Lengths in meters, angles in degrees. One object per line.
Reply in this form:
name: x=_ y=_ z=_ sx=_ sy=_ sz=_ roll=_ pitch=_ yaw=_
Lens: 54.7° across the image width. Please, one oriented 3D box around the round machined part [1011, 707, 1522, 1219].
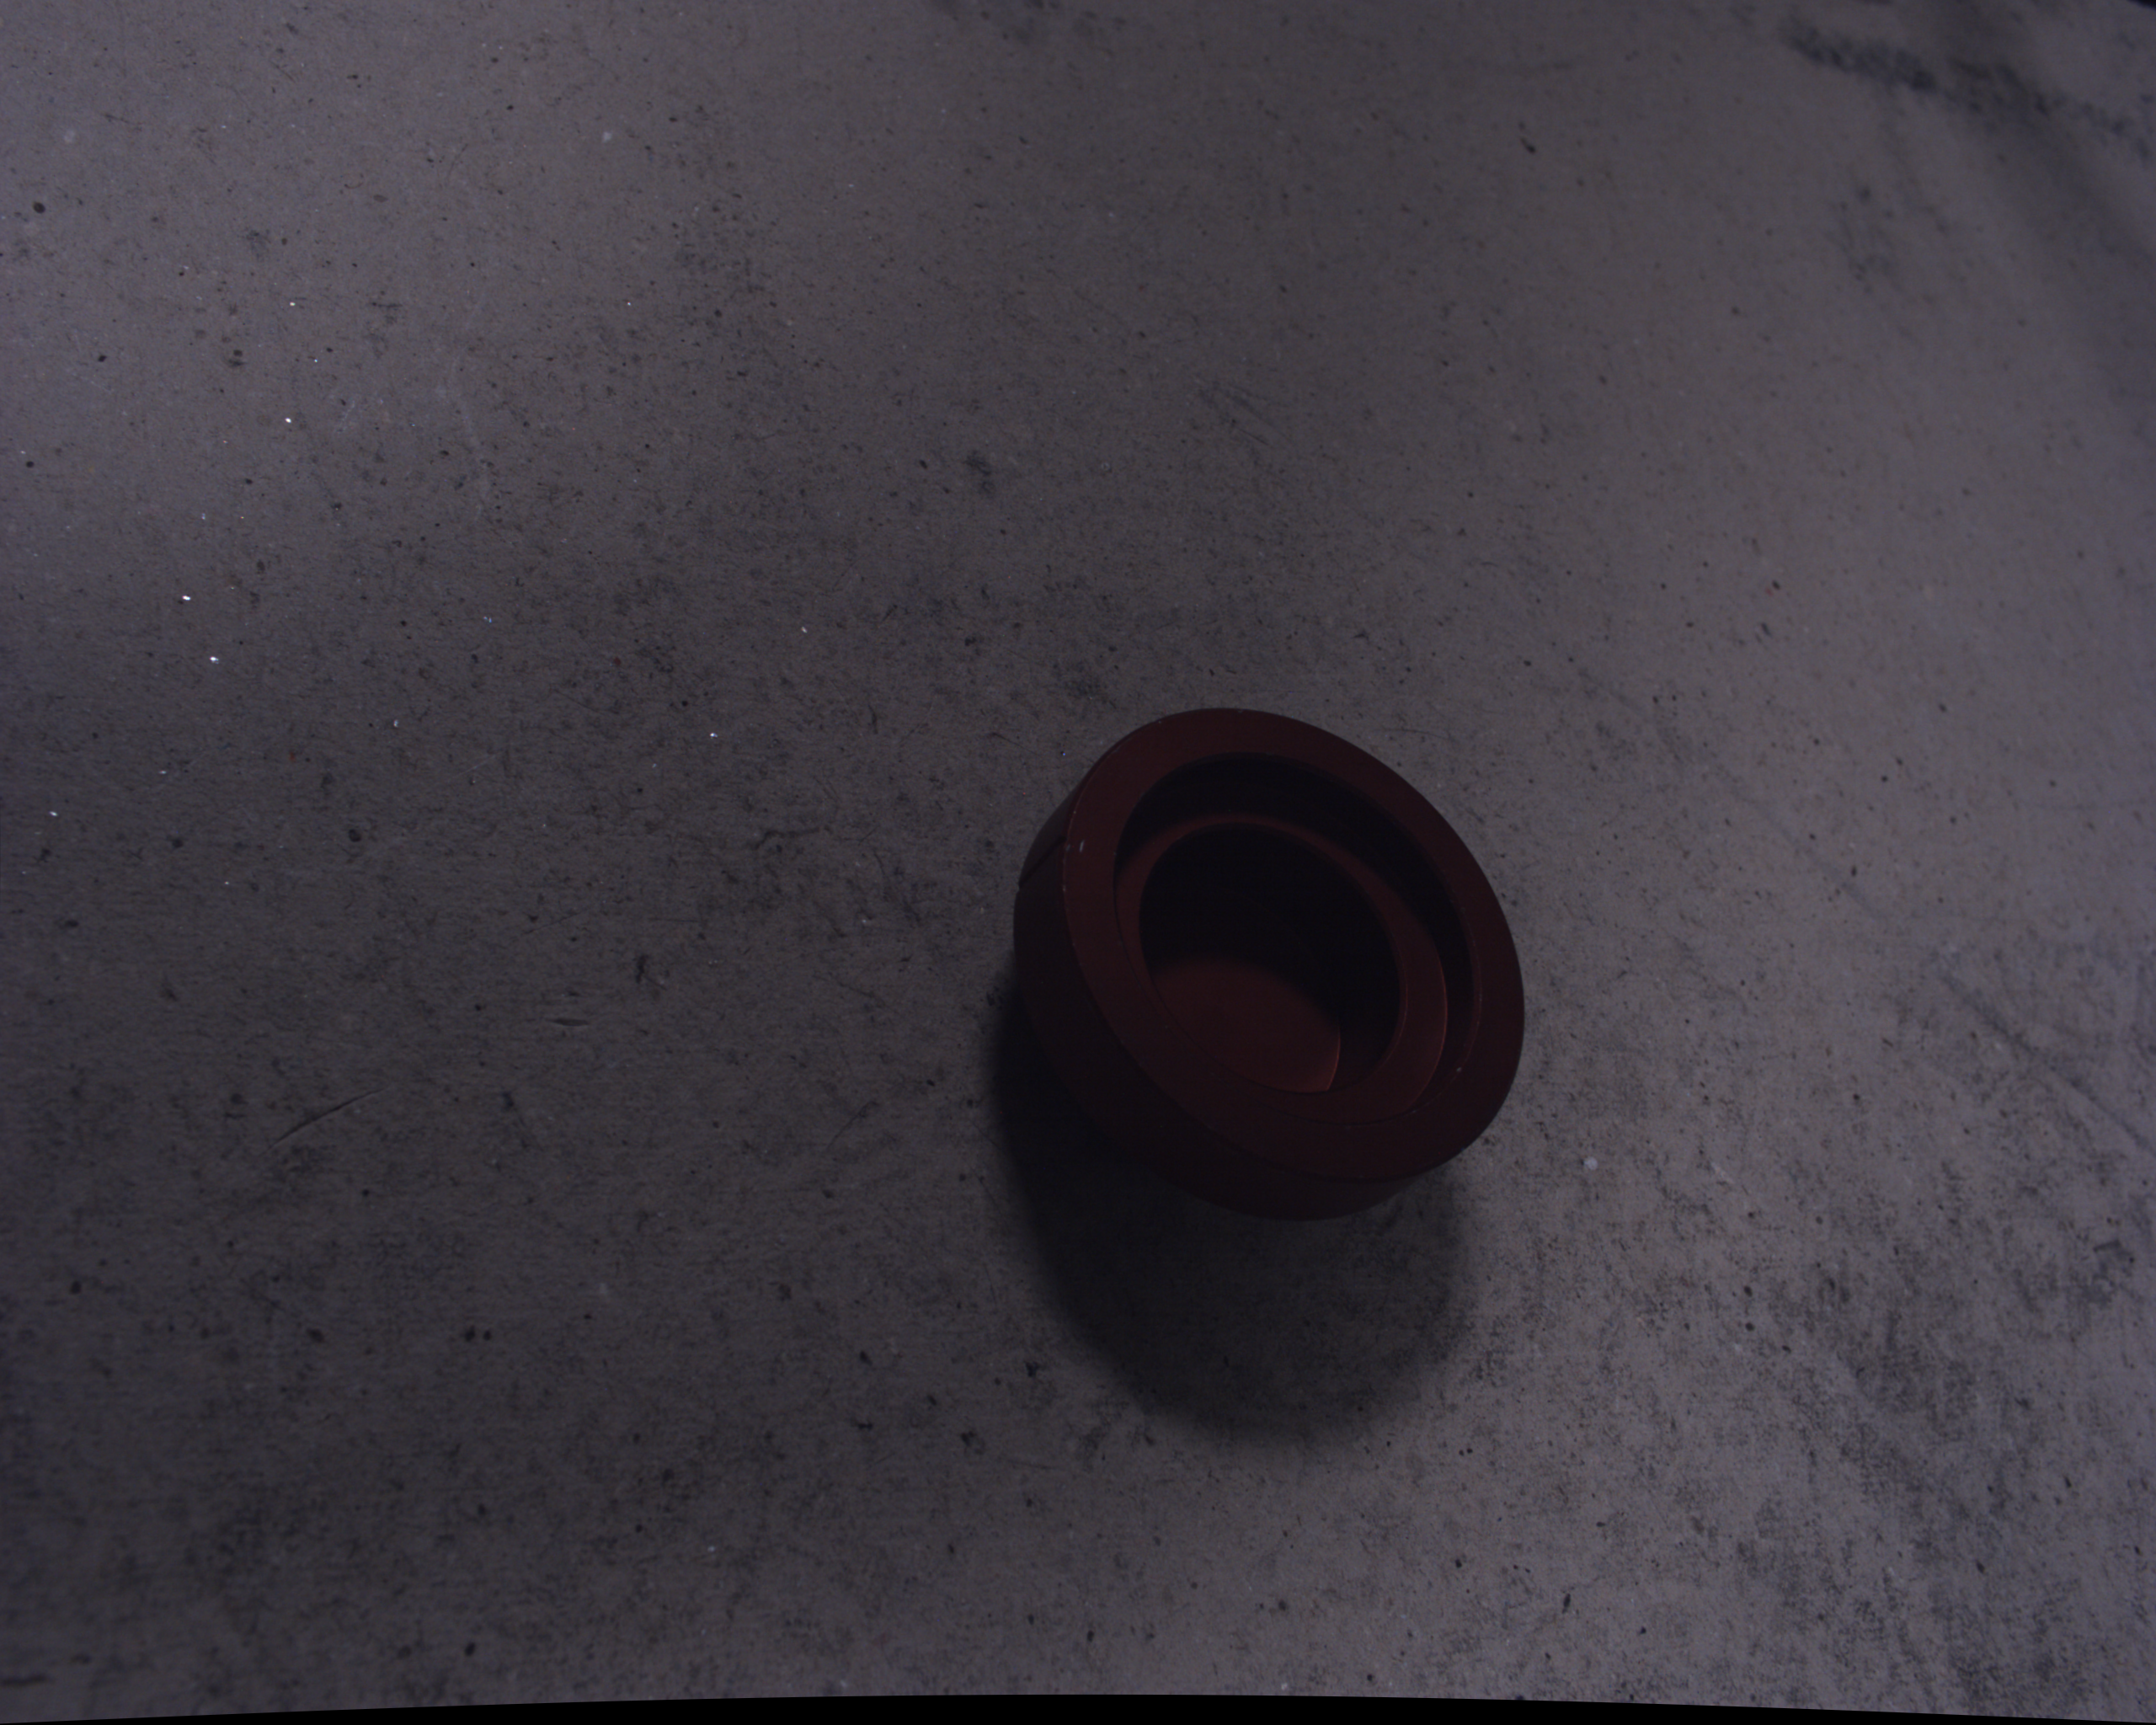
round machined part: x=0.032 y=0.022 z=0.400 sx=0.099 sy=0.042 sz=0.098 roll=14 pitch=56 yaw=-21
